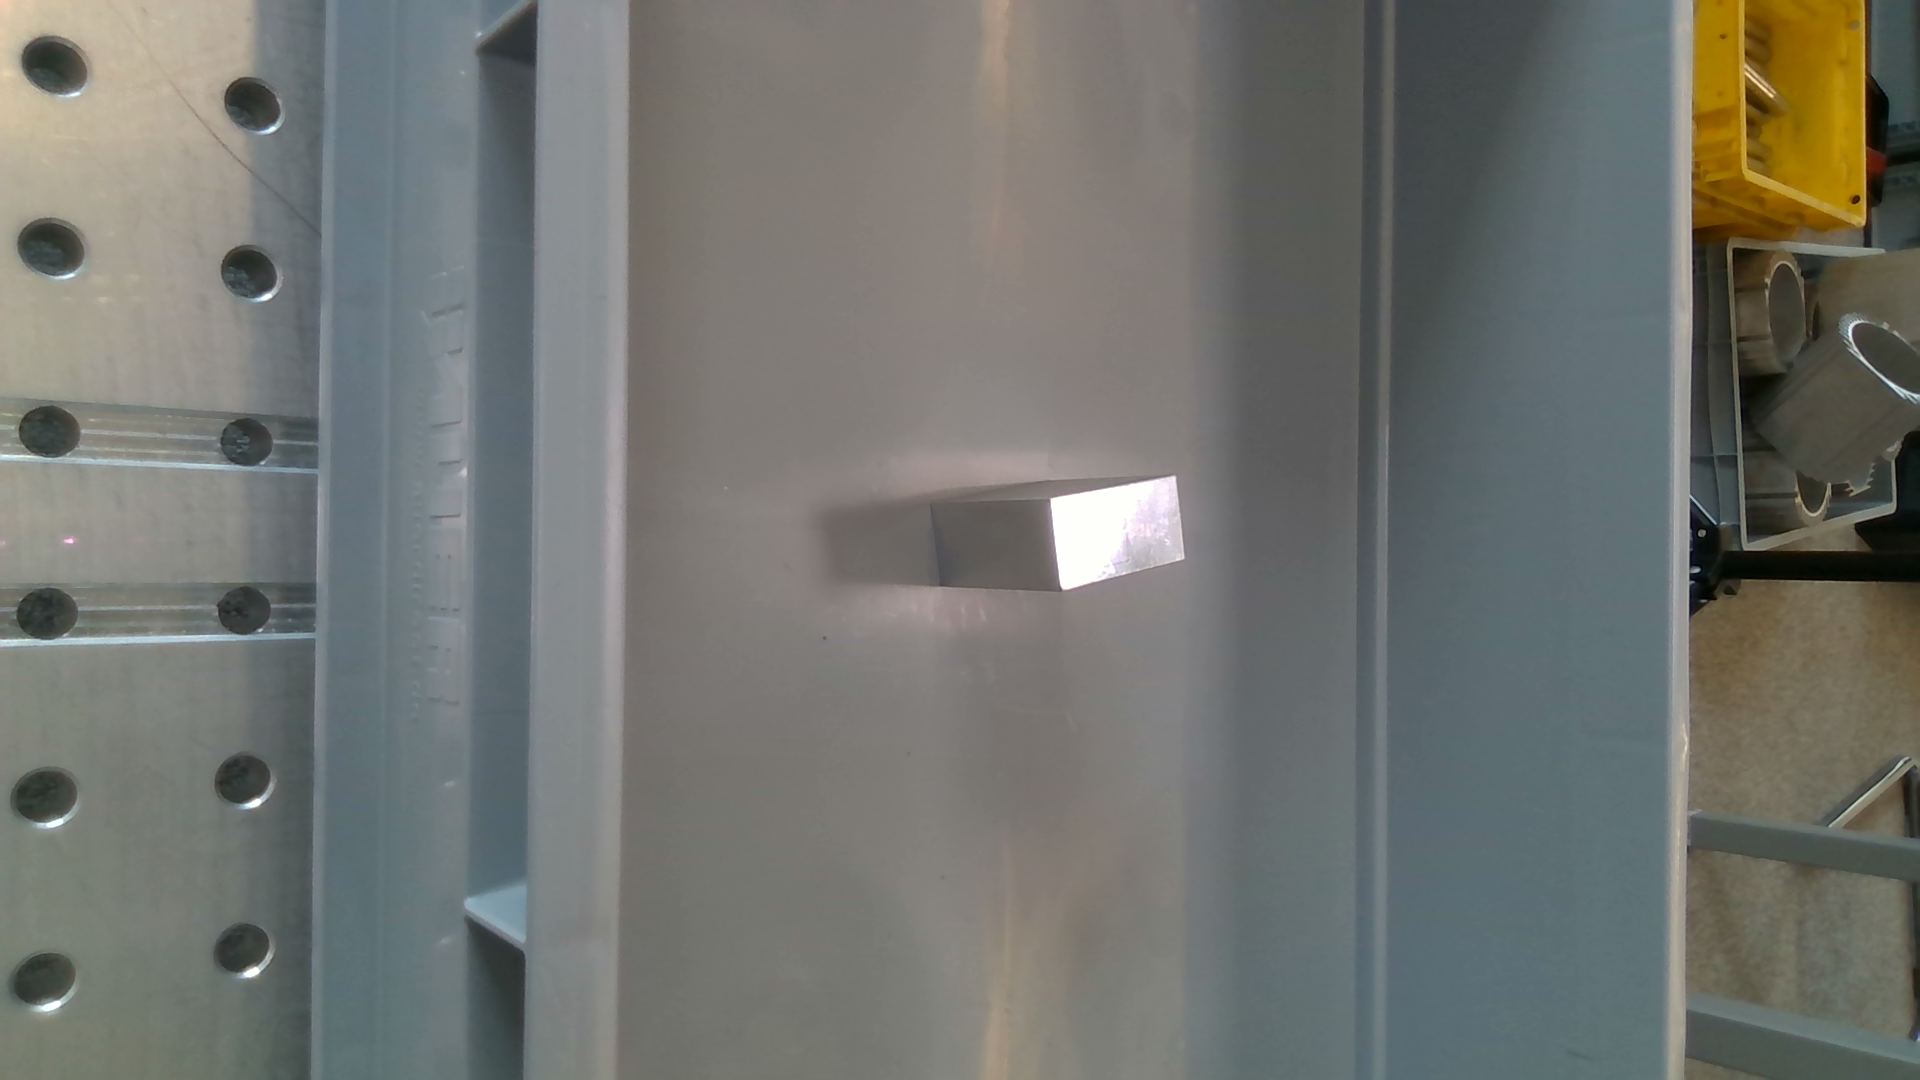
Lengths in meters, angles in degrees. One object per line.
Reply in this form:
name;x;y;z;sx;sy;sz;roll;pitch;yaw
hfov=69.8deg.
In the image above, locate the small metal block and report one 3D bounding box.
small metal block;0.028;-0.003;0.394;0.050;0.050;0.025;-12;97;-40
